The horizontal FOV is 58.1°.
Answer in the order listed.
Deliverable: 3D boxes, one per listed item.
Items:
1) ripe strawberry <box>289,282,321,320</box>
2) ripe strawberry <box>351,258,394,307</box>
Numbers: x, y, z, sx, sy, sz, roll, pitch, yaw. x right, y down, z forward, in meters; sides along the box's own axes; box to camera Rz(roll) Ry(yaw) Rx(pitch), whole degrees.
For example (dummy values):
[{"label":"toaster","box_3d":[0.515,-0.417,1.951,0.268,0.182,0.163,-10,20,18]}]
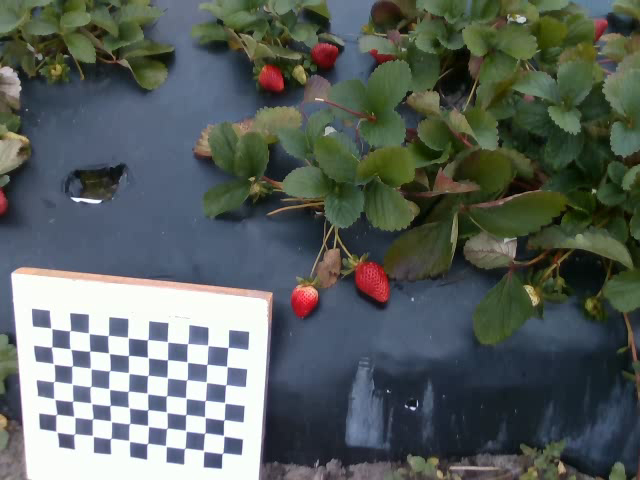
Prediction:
[{"label":"ripe strawberry","box_3d":[-0.019,0.068,0.643,0.036,0.041,0.027,8,-2,15]},{"label":"ripe strawberry","box_3d":[0.059,0.047,0.641,0.044,0.059,0.041,-41,-16,25]}]
